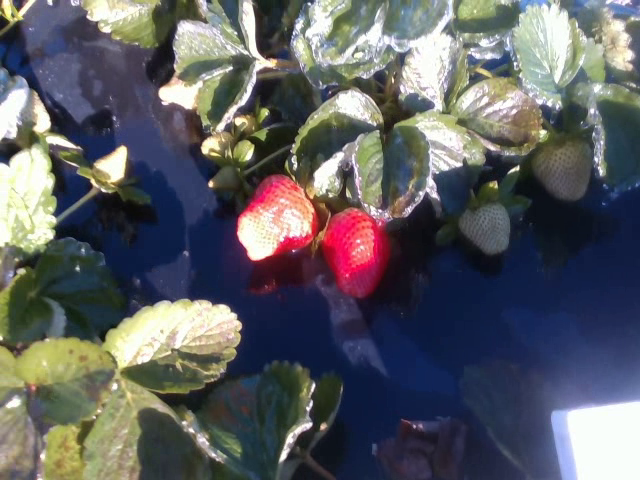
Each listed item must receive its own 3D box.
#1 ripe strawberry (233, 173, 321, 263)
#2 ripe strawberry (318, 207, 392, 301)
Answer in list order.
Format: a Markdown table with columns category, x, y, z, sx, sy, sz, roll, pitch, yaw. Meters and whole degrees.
| category | x | y | z | sx | sy | sz | roll | pitch | yaw |
| --- | --- | --- | --- | --- | --- | --- | --- | --- | --- |
| ripe strawberry | -0.029 | -0.010 | 0.400 | 0.052 | 0.070 | 0.040 | 40 | -16 | 3 |
| ripe strawberry | 0.022 | 0.004 | 0.385 | 0.043 | 0.059 | 0.040 | -7 | -18 | 0 |
